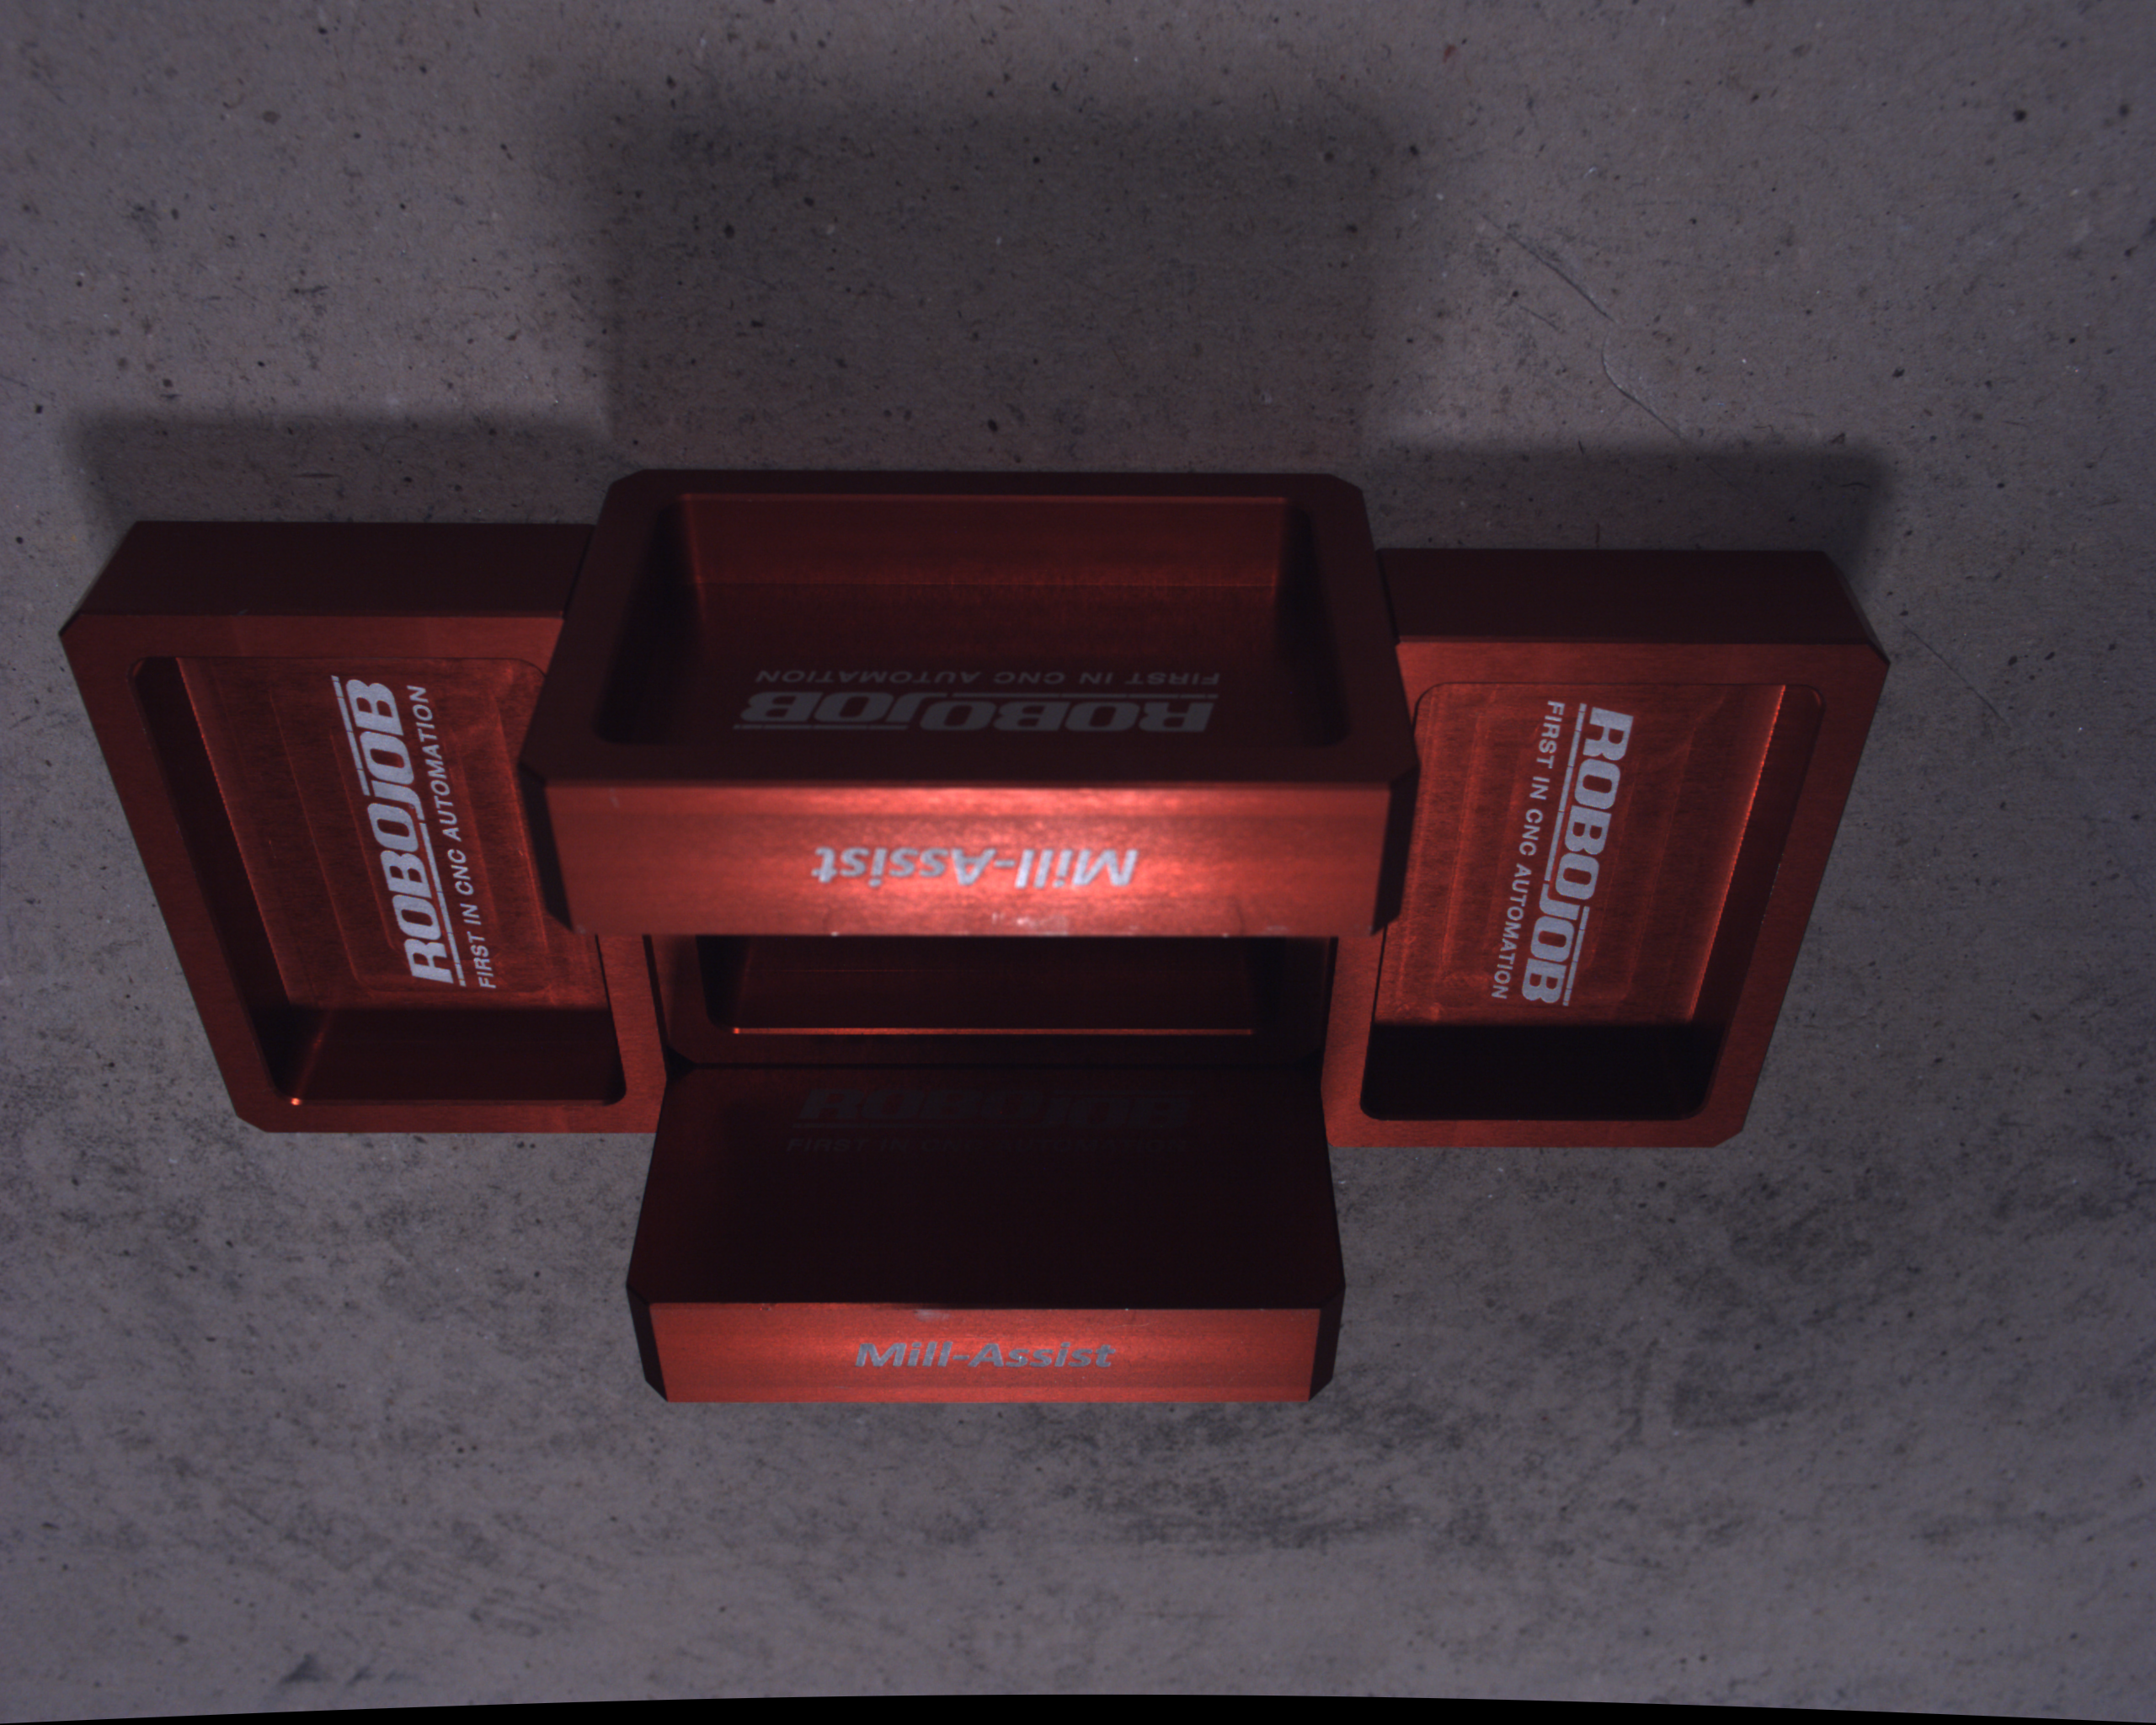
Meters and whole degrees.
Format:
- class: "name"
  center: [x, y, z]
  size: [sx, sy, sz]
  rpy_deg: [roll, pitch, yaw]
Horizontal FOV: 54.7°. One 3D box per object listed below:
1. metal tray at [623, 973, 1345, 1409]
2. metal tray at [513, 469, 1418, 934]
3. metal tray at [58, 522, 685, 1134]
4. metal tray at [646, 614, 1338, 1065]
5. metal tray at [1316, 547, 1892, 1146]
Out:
- class: "metal tray"
  center: [-0.017, 0.063, 0.418]
  size: [0.131, 0.090, 0.030]
  rpy_deg: [0, 130, -1]
- class: "metal tray"
  center: [-0.016, -0.029, 0.341]
  size: [0.131, 0.090, 0.030]
  rpy_deg: [0, 130, -1]
- class: "metal tray"
  center: [-0.127, -0.002, 0.402]
  size: [0.091, 0.030, 0.129]
  rpy_deg: [0, 130, -1]
- class: "metal tray"
  center: [-0.017, -0.003, 0.403]
  size: [0.131, 0.030, 0.089]
  rpy_deg: [0, 130, -1]
- class: "metal tray"
  center: [0.094, 0.001, 0.408]
  size: [0.091, 0.030, 0.129]
  rpy_deg: [0, 130, -1]
